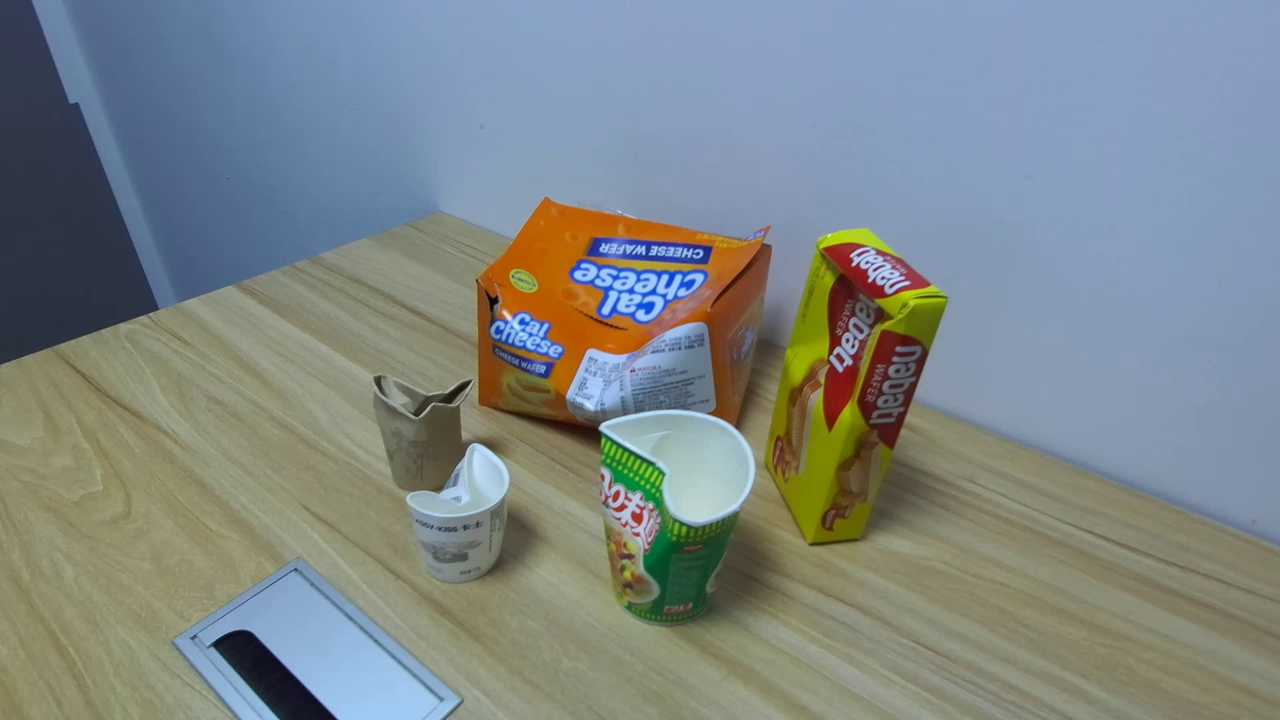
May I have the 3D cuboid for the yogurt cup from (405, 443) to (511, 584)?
[{"bbox_3d":[-0.115,0.102,0.459,0.067,0.070,0.067,2,33,-1],"label":"yogurt cup"}]

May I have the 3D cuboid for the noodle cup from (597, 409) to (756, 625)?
[{"bbox_3d":[0.021,0.102,0.432,0.087,0.109,0.093,-4,35,-9],"label":"noodle cup"}]

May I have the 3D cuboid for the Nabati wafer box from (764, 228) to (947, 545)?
[{"bbox_3d":[0.133,0.023,0.474,0.042,0.203,0.096,-3,36,-12],"label":"Nabati wafer box"}]

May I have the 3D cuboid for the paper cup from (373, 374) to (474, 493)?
[{"bbox_3d":[-0.159,0.050,0.525,0.066,0.083,0.058,26,37,29],"label":"paper cup"}]

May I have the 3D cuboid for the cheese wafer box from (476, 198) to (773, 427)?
[{"bbox_3d":[-0.015,-0.030,0.595,0.218,0.145,0.191,12,35,13],"label":"cheese wafer box"}]
